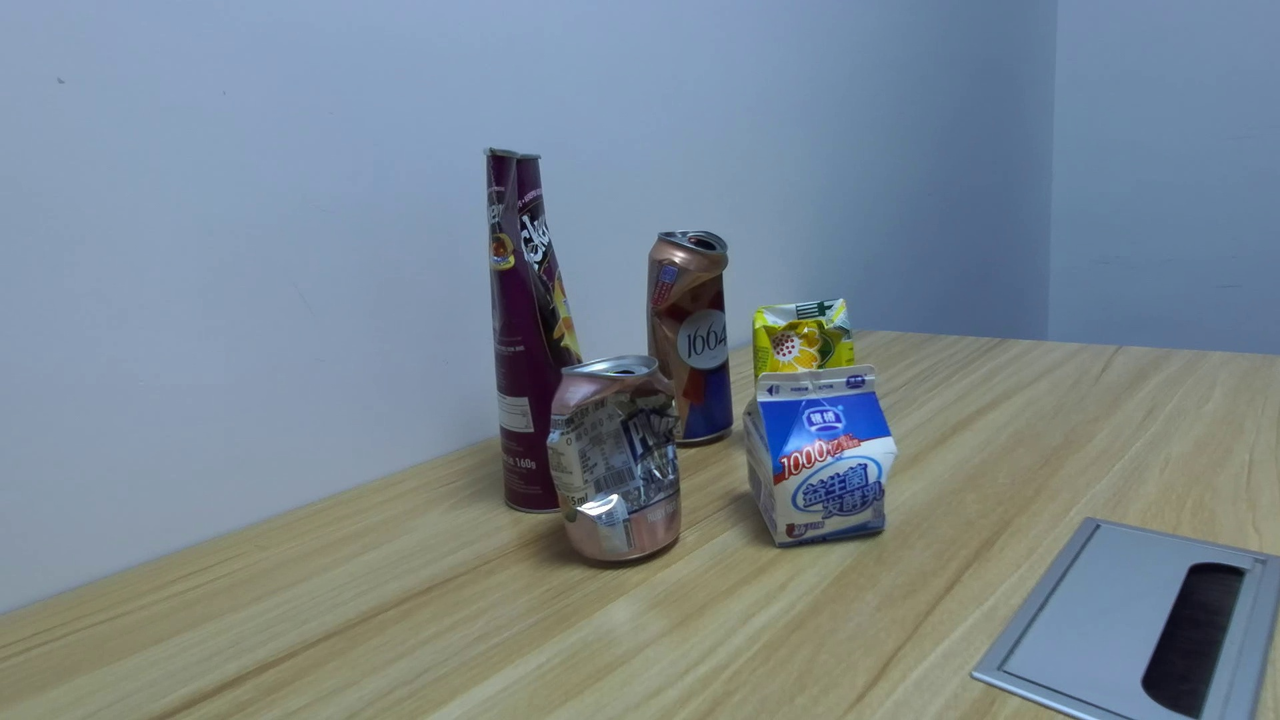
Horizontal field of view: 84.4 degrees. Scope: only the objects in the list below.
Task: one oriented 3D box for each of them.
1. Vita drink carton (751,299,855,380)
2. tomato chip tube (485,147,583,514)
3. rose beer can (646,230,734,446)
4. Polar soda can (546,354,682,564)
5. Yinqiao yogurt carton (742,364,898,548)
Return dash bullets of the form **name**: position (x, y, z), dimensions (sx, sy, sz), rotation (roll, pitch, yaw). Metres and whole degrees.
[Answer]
- **Vita drink carton**: position (0.118, 0.015, 0.508), dimensions (0.071, 0.109, 0.046), rotation (-4, 11, 16)
- **tomato chip tube**: position (-0.070, -0.019, 0.479), dimensions (0.090, 0.235, 0.077), rotation (-16, 17, -42)
- **rose beer can**: position (0.039, -0.017, 0.564), dimensions (0.070, 0.168, 0.069), rotation (-4, 17, -5)
- **Polar soda can**: position (-0.011, 0.054, 0.404), dimensions (0.070, 0.114, 0.074), rotation (0, 17, 4)
- **Yinqiao yogurt carton**: position (0.104, 0.048, 0.404), dimensions (0.074, 0.097, 0.080), rotation (-7, 21, -3)
